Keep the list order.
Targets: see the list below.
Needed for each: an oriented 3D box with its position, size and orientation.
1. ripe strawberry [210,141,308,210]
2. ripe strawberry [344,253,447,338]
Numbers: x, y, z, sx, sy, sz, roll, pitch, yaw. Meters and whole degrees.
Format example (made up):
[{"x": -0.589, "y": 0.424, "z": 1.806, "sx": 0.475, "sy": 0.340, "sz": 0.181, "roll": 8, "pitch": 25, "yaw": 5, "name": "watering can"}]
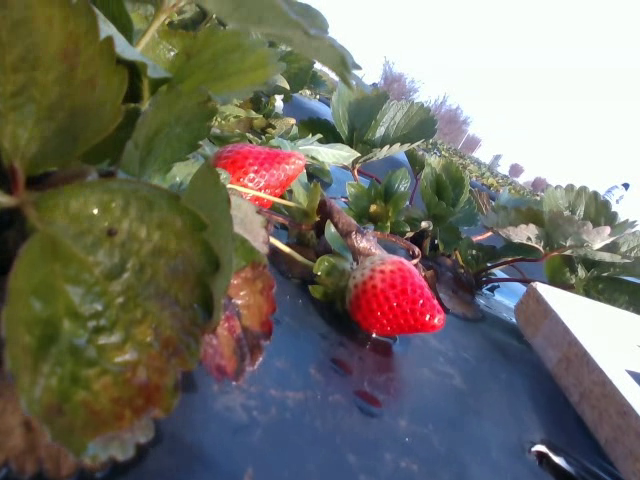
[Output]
[{"x": -0.029, "y": -0.033, "z": 0.265, "sx": 0.048, "sy": 0.032, "sz": 0.040, "roll": -25, "pitch": 40, "yaw": -6, "name": "ripe strawberry"}, {"x": 0.028, "y": 0.022, "z": 0.219, "sx": 0.043, "sy": 0.030, "sz": 0.035, "roll": 37, "pitch": 25, "yaw": 32, "name": "ripe strawberry"}]
